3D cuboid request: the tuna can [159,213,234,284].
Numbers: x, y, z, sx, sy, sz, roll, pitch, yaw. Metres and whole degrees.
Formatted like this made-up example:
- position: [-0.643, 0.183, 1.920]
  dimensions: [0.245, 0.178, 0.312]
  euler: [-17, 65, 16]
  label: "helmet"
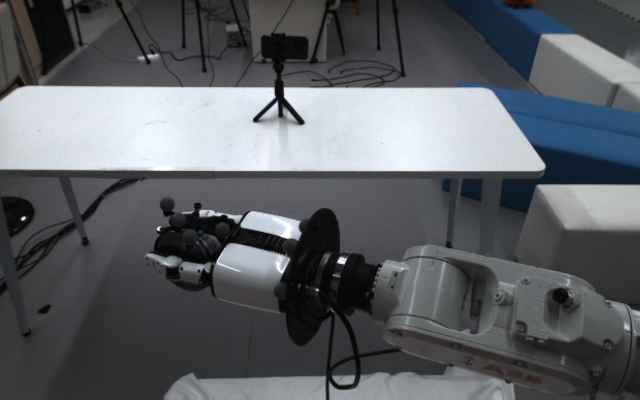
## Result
- position: [-0.160, 0.068, 0.603]
  dimensions: [0.085, 0.085, 0.034]
  euler: [16, 29, 19]
  label: "tuna can"
